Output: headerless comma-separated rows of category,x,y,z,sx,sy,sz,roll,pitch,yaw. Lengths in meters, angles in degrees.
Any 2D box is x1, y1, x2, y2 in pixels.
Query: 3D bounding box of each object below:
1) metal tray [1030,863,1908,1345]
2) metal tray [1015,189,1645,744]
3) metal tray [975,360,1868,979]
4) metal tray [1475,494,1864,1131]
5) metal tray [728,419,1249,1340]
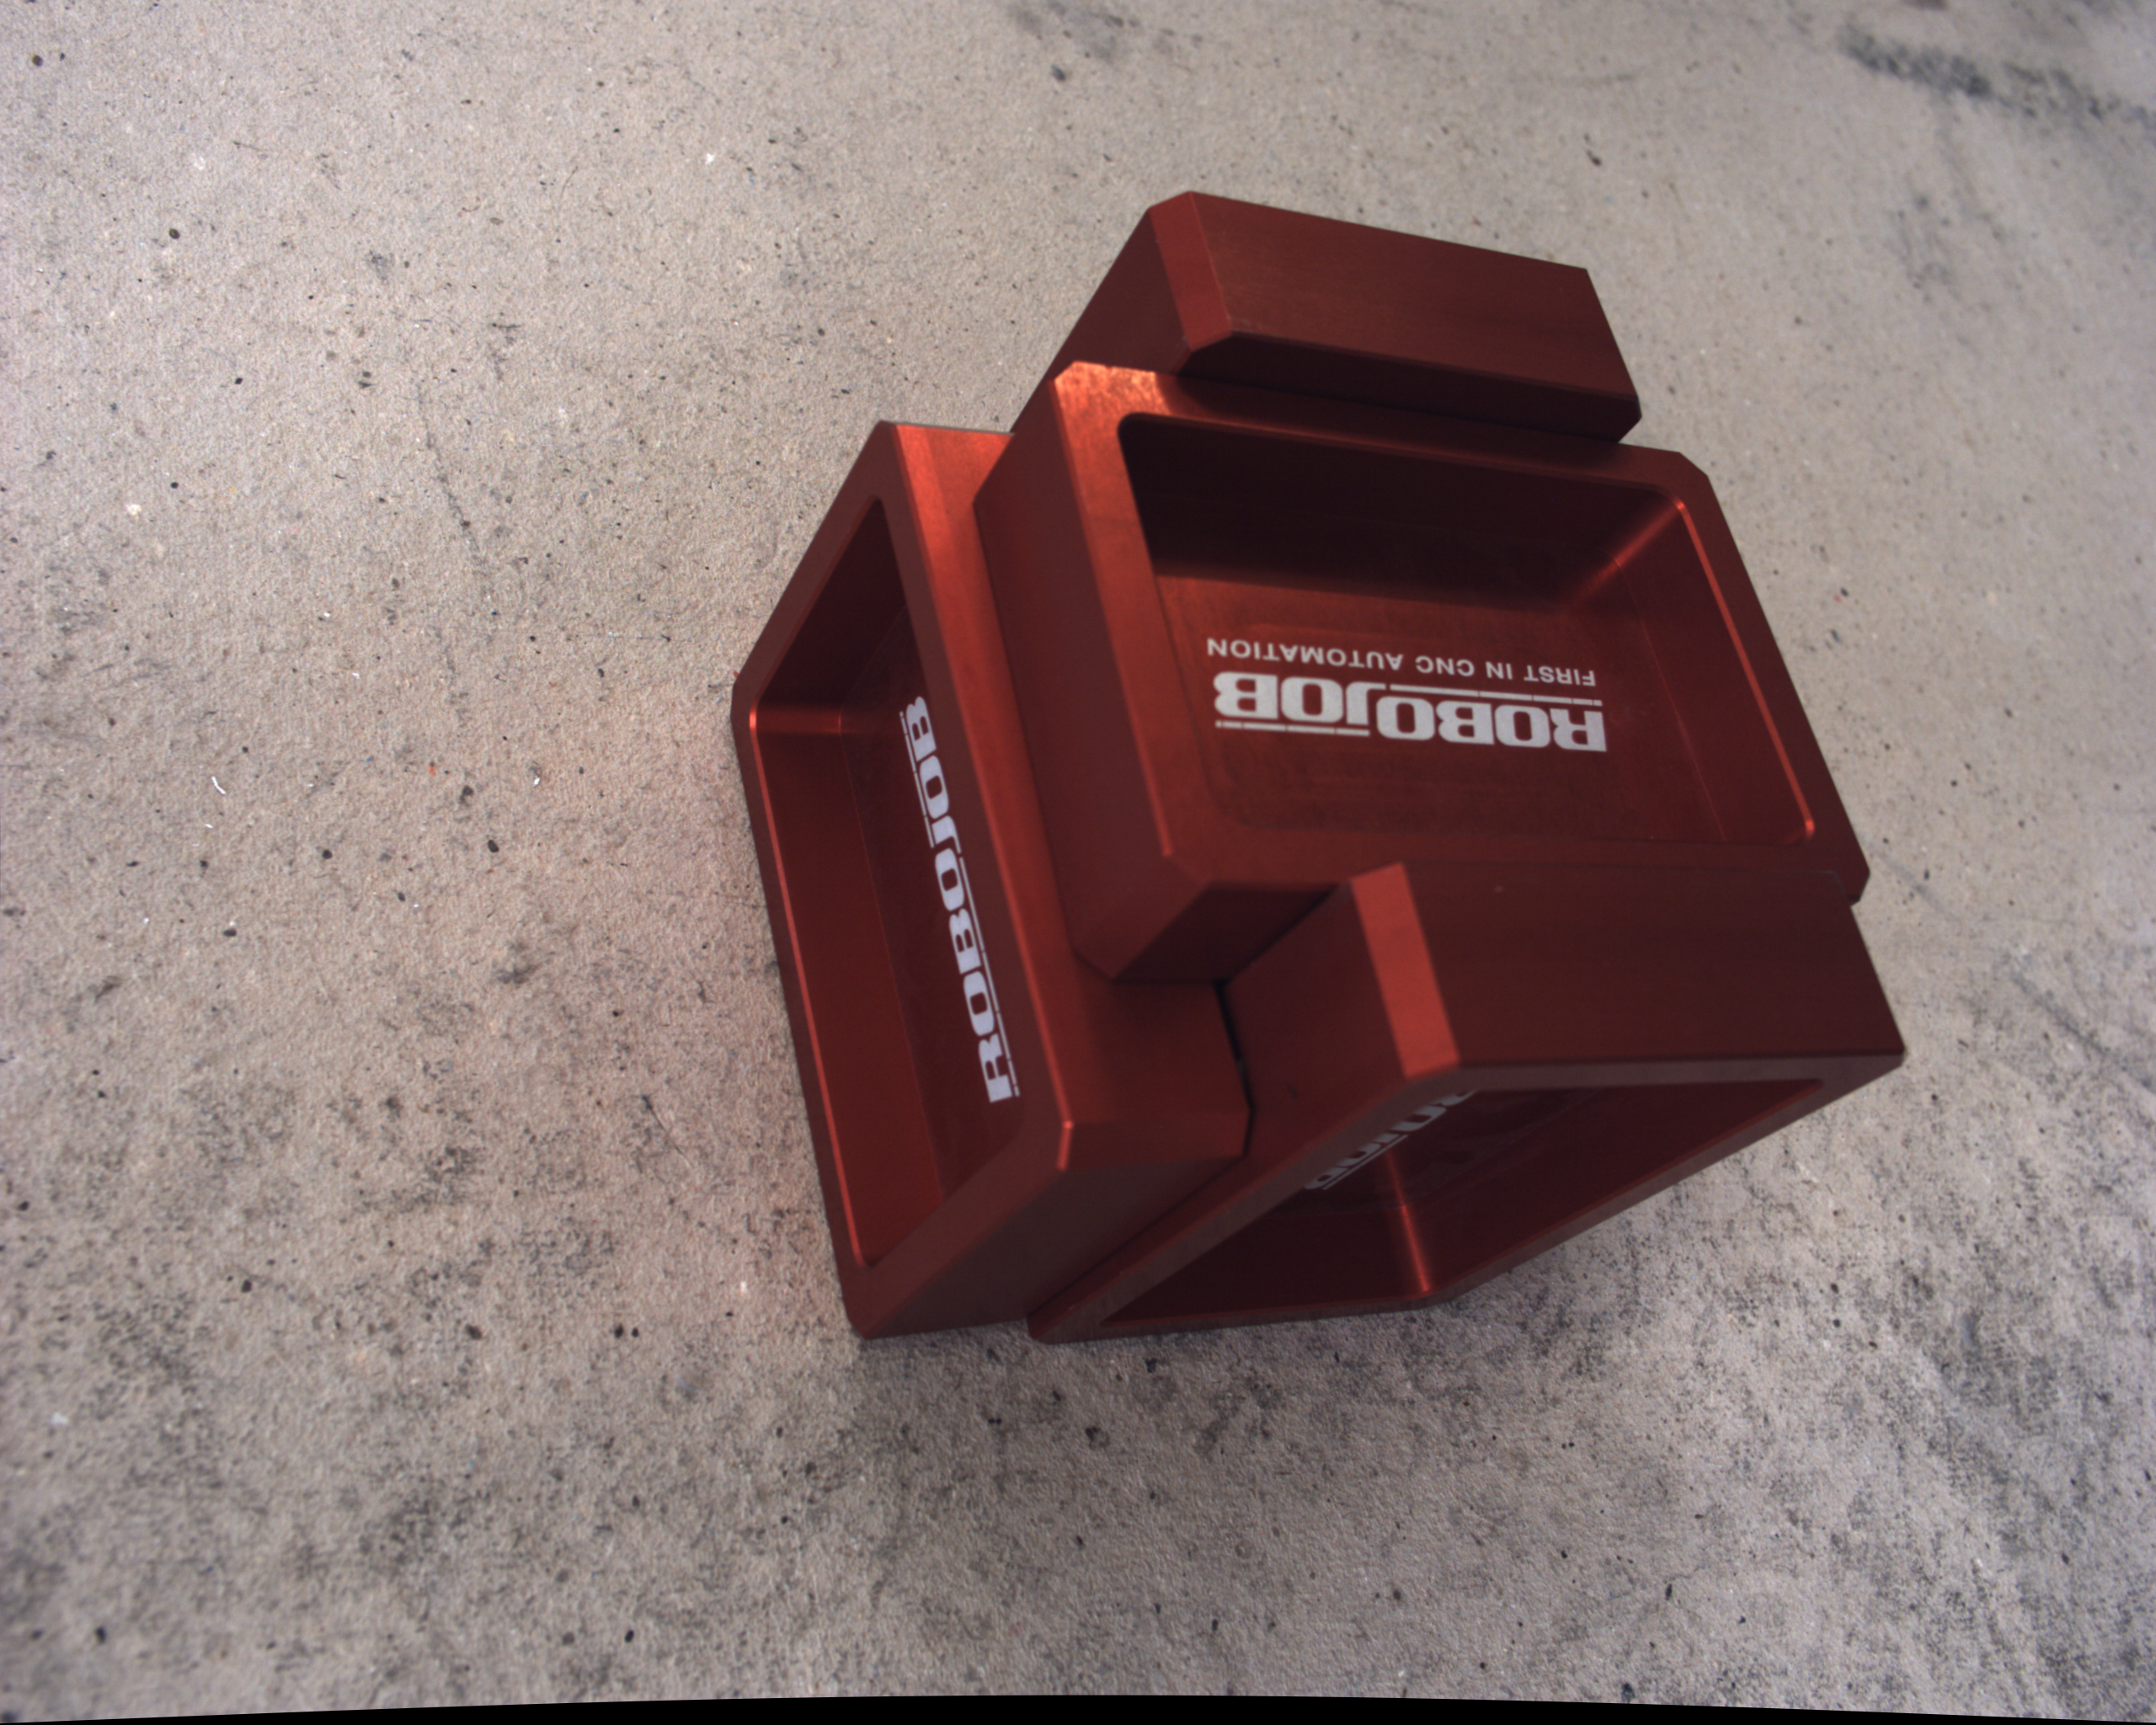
metal tray,0.055,0.043,0.340,0.091,0.129,0.030,1,62,-28
metal tray,0.030,-0.062,0.390,0.091,0.129,0.030,2,61,-28
metal tray,0.055,-0.028,0.333,0.131,0.030,0.090,1,62,-27
metal tray,0.092,-0.001,0.413,0.030,0.090,0.130,1,60,-27
metal tray,-0.021,0.004,0.349,0.030,0.090,0.130,0,62,-29
